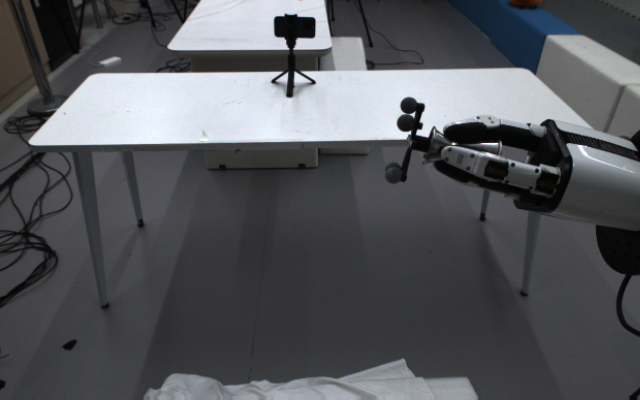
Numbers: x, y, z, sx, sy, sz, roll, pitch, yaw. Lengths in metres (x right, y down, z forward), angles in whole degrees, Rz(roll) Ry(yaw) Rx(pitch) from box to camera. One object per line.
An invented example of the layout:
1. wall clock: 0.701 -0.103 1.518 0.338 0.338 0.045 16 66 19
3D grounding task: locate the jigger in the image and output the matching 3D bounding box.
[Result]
1. jigger: 0.149 -0.049 0.492 0.071 0.043 0.043 14 36 5
